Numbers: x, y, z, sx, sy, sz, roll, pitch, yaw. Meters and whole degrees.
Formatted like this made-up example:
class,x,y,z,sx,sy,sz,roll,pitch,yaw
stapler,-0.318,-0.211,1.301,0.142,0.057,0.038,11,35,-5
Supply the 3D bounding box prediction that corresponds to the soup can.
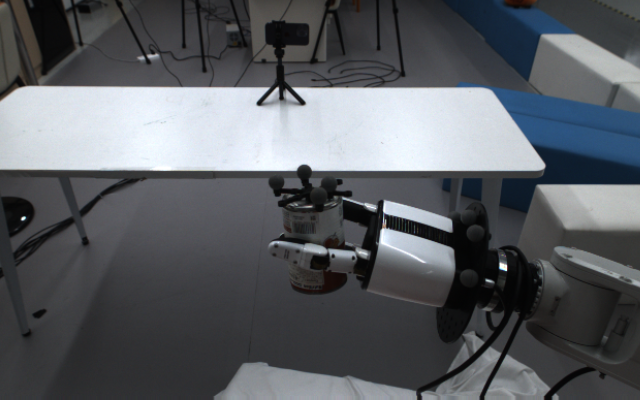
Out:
class,x,y,z,sx,sy,sz,roll,pitch,yaw
soup can,-0.003,0.043,0.537,0.067,0.101,0.067,-4,21,2
